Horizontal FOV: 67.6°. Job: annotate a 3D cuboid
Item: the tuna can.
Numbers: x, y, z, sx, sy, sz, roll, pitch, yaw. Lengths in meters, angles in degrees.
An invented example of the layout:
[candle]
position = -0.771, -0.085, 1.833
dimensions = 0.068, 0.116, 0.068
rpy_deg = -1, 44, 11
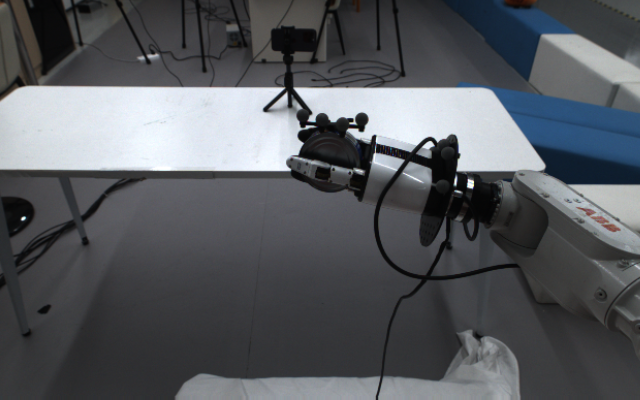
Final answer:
[tuna can]
position = 0.015, -0.057, 0.667
dimensions = 0.085, 0.085, 0.034
rpy_deg = 9, 23, 10
